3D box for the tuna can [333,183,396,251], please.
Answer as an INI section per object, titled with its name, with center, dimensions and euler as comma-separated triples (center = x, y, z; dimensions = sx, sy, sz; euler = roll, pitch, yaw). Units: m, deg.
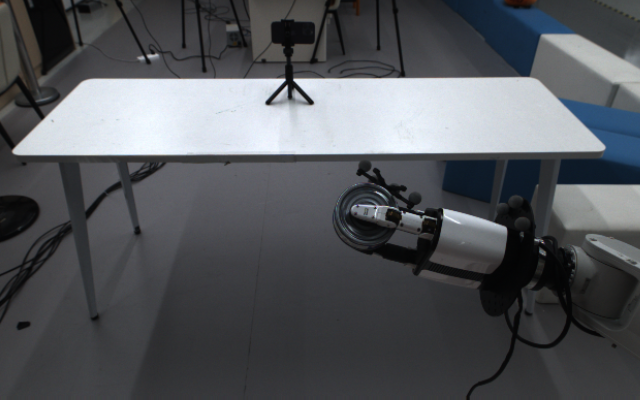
[tuna can]
center = 0.064, 0.028, 0.631
dimensions = 0.085, 0.034, 0.085
euler = 0, 74, 0
